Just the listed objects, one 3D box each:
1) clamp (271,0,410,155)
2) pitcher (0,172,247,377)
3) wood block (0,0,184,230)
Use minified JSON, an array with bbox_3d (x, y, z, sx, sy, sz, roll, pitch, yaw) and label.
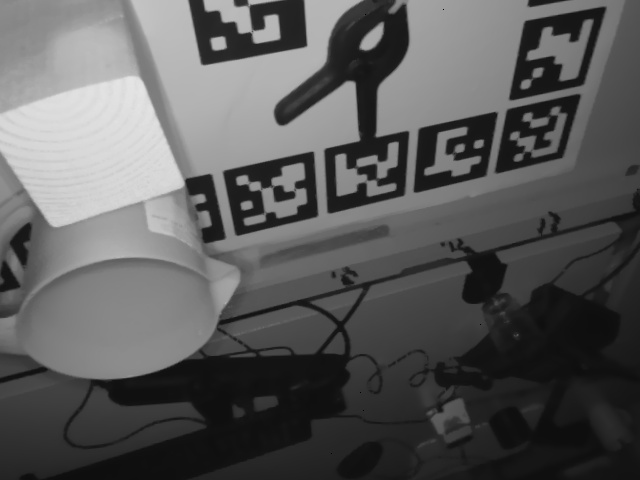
[{"bbox_3d":[0.037,-0.164,0.679,0.123,0.037,0.163,14,125,-25],"label":"clamp"},{"bbox_3d":[-0.177,-0.017,0.569,0.190,0.243,0.132,-15,140,-13],"label":"pitcher"},{"bbox_3d":[-0.161,-0.117,0.498,0.090,0.207,0.090,-12,137,-6],"label":"wood block"}]
